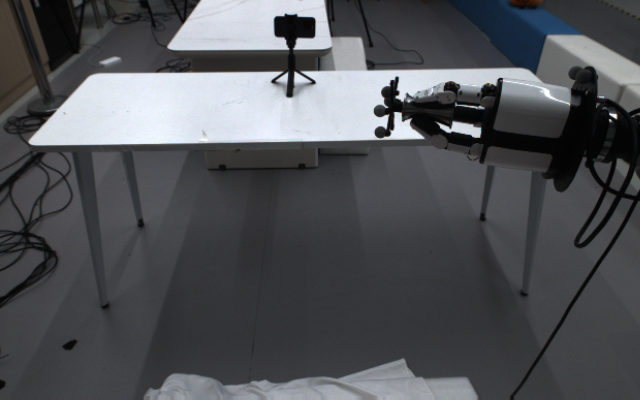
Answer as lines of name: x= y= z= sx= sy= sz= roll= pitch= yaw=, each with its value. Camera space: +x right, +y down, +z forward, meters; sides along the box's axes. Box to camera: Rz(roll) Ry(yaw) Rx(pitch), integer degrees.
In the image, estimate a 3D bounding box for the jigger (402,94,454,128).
jigger: x=0.157 y=-0.129 z=0.669 sx=0.071 sy=0.043 sz=0.043 roll=10 pitch=35 yaw=15
